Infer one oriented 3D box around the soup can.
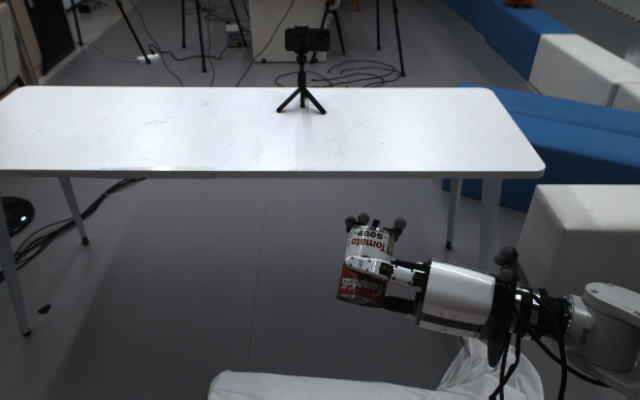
[{"bbox_3d":[0.067,0.093,0.682,0.067,0.067,0.101,9,72,10],"label":"soup can"}]
